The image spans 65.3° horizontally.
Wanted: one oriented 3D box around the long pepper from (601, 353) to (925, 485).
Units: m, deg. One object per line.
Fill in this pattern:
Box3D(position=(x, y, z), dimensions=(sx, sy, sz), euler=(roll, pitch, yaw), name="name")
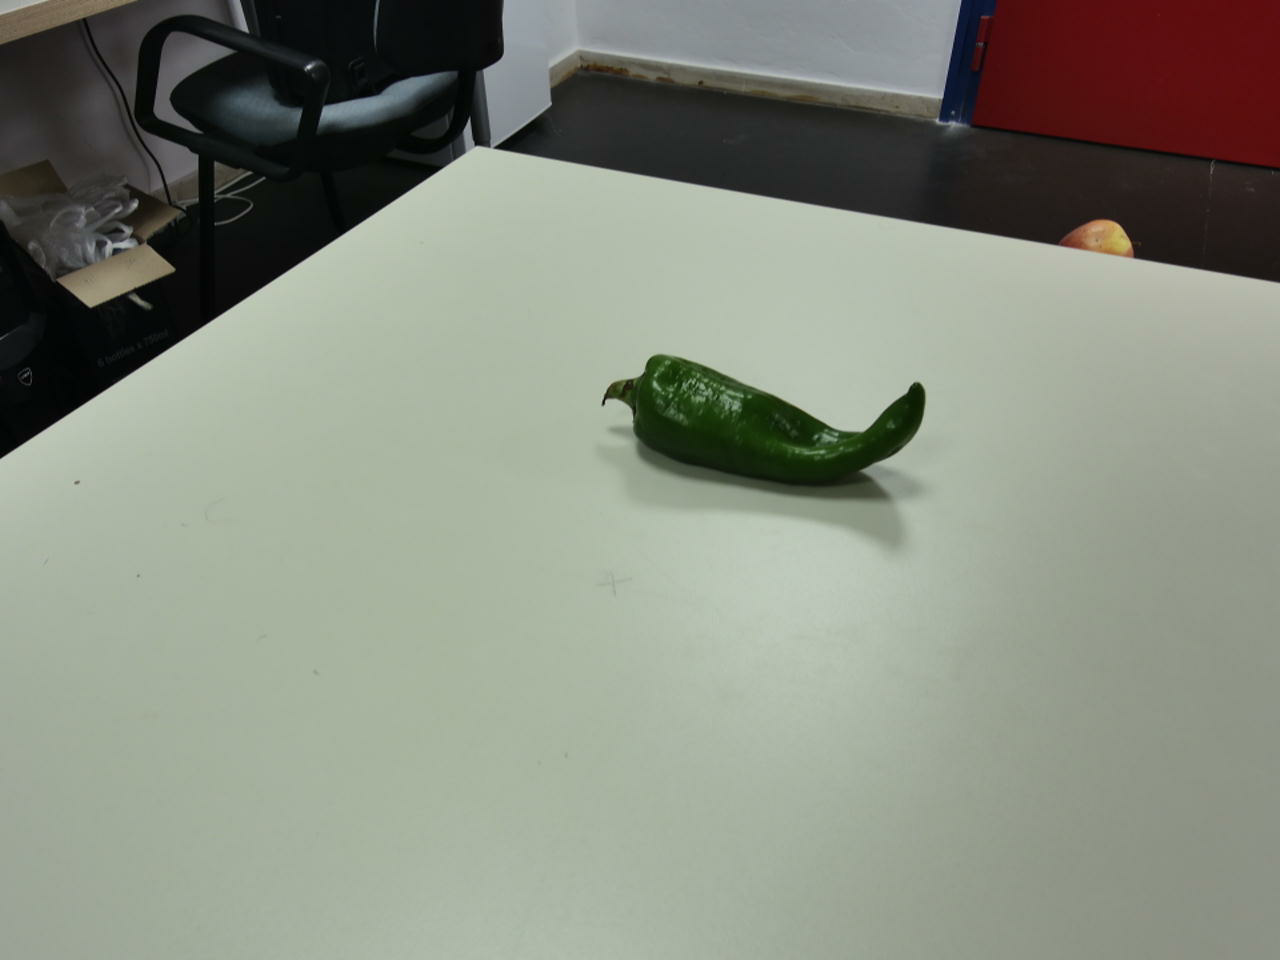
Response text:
Box3D(position=(0.059, -0.036, 0.533), dimensions=(0.175, 0.065, 0.058), euler=(15, 41, 19), name="long pepper")
